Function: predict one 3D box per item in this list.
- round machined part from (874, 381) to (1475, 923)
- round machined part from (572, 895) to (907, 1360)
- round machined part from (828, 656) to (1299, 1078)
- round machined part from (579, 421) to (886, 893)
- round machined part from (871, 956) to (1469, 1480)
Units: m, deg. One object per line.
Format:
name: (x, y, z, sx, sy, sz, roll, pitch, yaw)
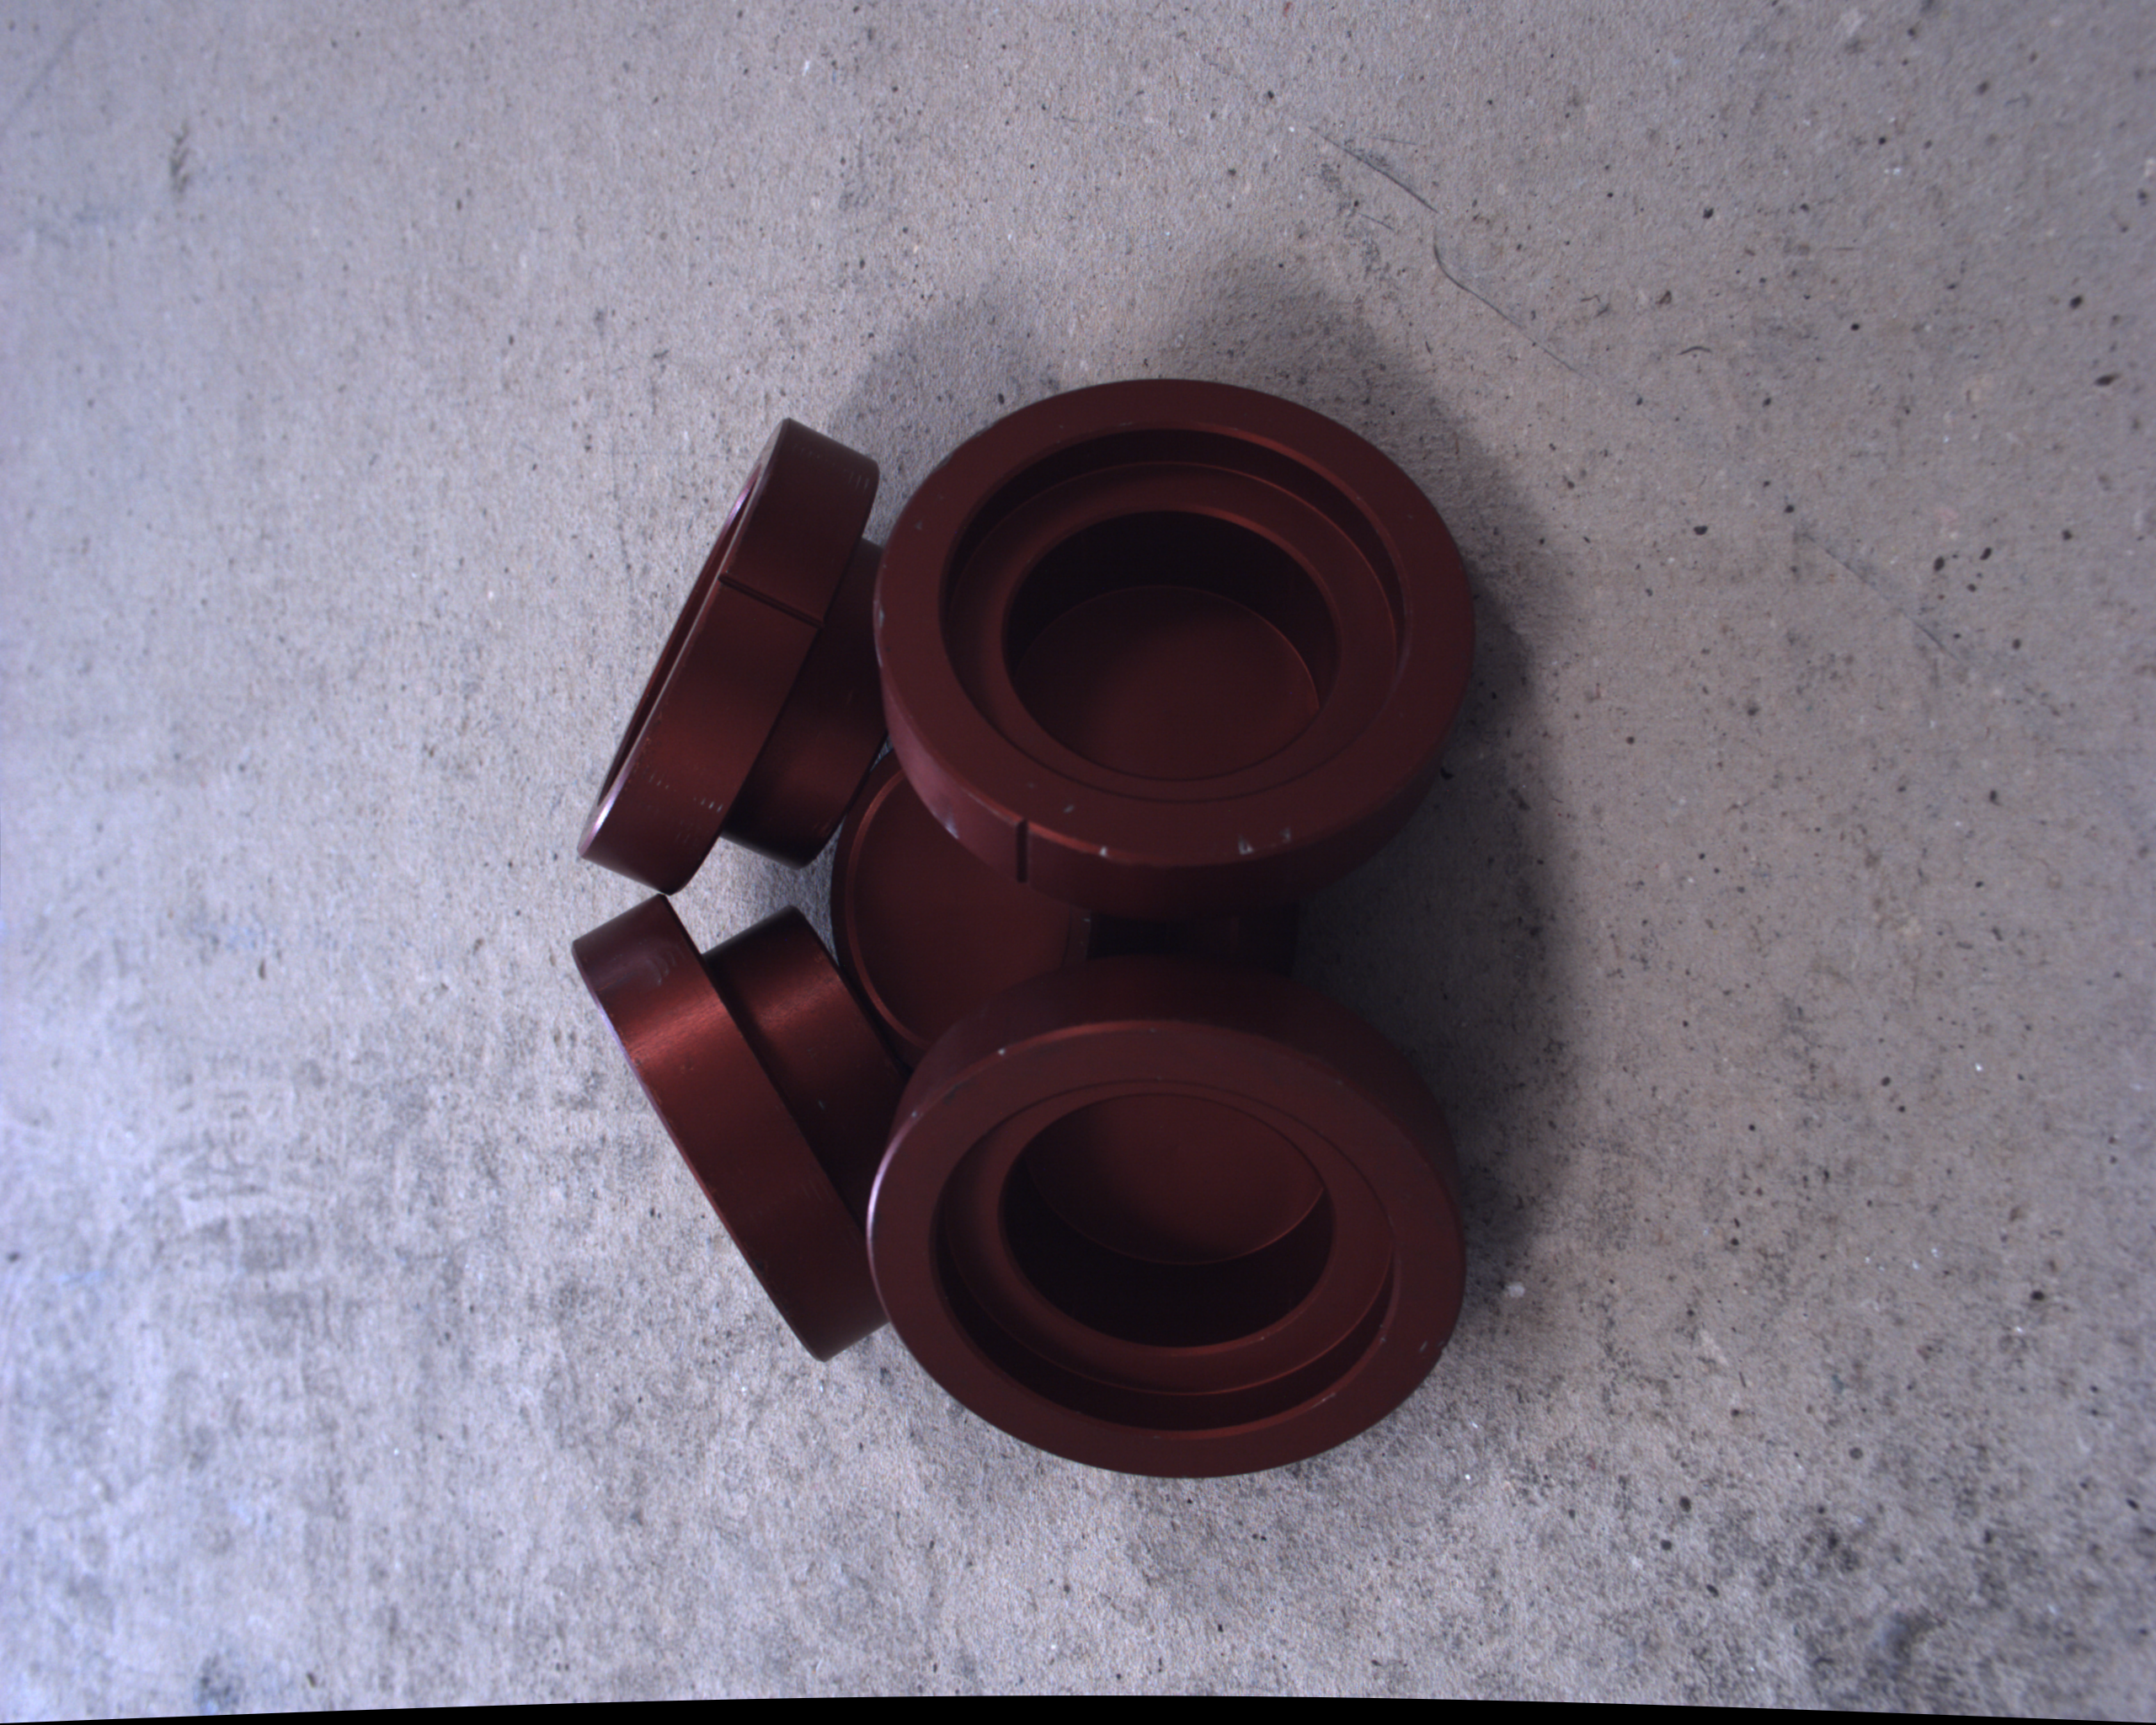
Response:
round machined part: (0.015, -0.032, 0.360, 0.098, 0.099, 0.042, 57, 163, 24)
round machined part: (-0.059, 0.048, 0.421, 0.042, 0.098, 0.098, -31, 64, -11)
round machined part: (-0.010, 0.007, 0.403, 0.098, 0.042, 0.097, -2, 87, 39)
round machined part: (-0.062, -0.037, 0.426, 0.097, 0.042, 0.098, -57, 16, 27)
round machined part: (0.017, 0.057, 0.361, 0.099, 0.042, 0.097, 3, 120, 5)
